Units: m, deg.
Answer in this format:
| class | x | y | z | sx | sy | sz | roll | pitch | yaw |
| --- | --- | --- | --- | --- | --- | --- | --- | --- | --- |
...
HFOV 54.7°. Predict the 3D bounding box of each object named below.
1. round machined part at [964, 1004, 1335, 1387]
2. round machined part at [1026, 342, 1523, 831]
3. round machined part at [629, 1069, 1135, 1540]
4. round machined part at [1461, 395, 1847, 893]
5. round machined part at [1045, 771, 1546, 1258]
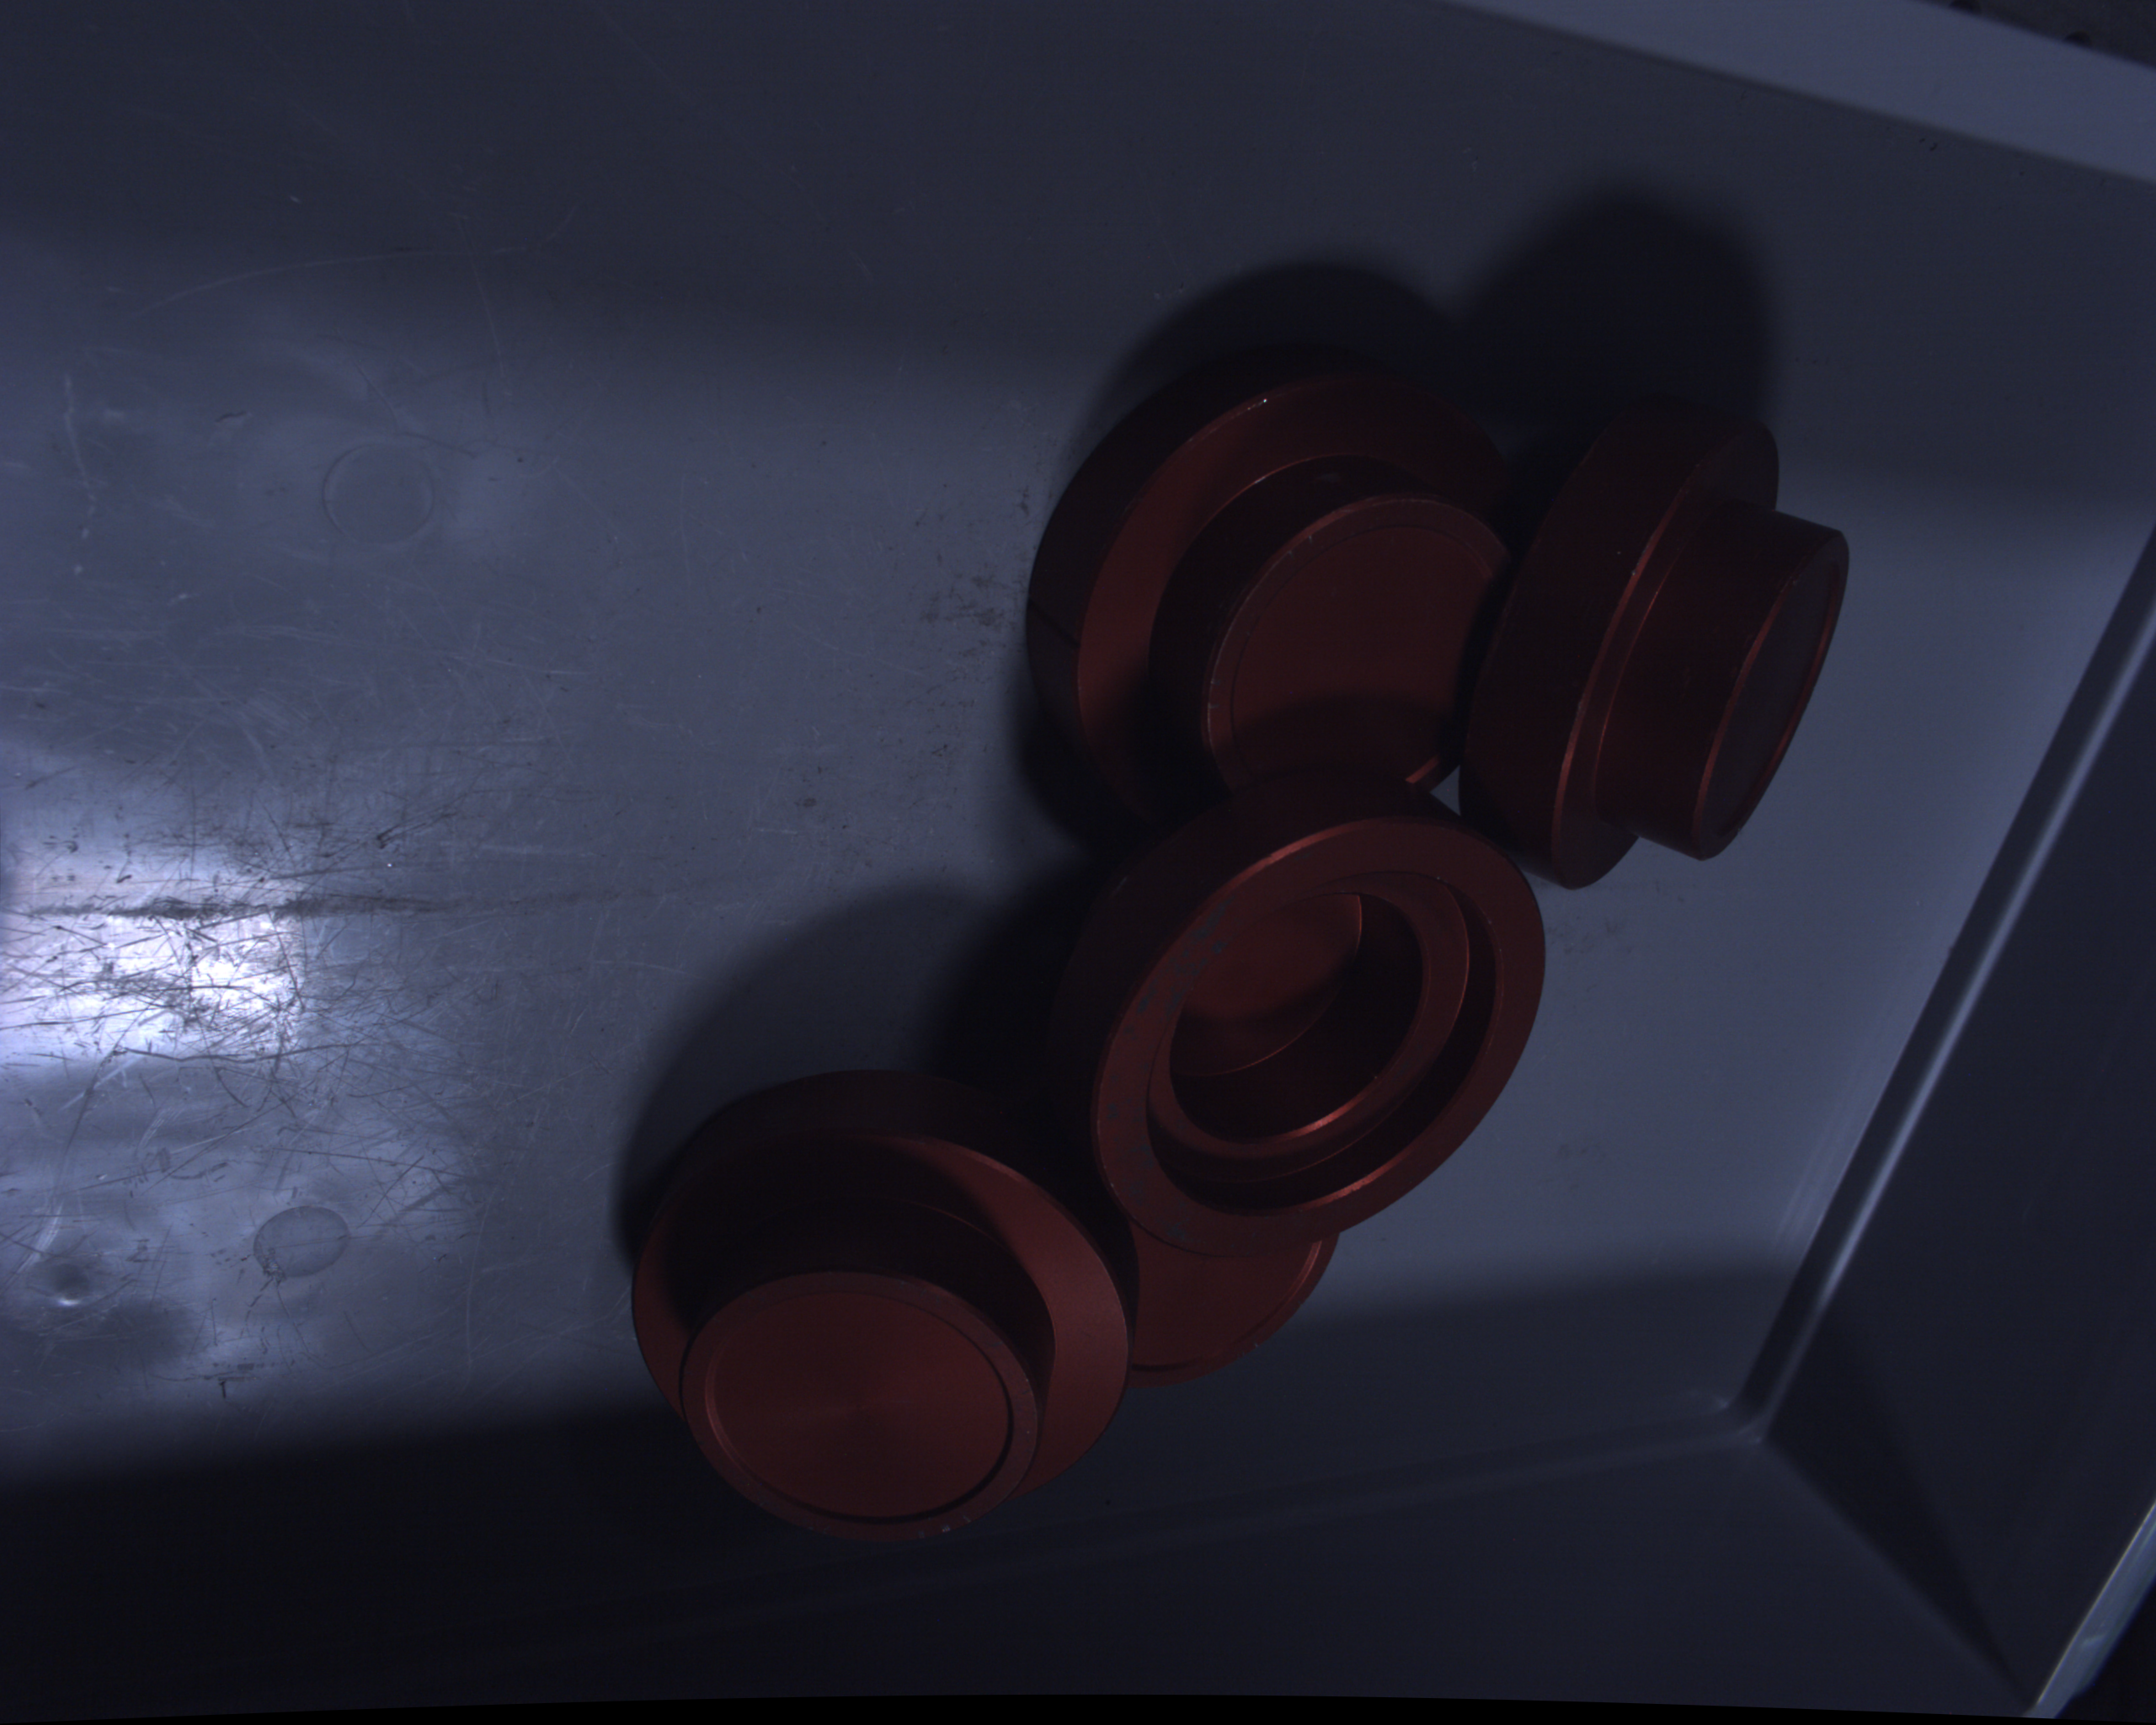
| class | x | y | z | sx | sy | sz | roll | pitch | yaw |
| --- | --- | --- | --- | --- | --- | --- | --- | --- | --- |
| round machined part | 0.017 | 0.074 | 0.453 | 0.099 | 0.042 | 0.097 | -14 | 125 | -21 |
| round machined part | 0.043 | -0.044 | 0.393 | 0.099 | 0.042 | 0.097 | -14 | 125 | -21 |
| round machined part | -0.039 | 0.092 | 0.405 | 0.099 | 0.042 | 0.097 | 2 | 118 | 4 |
| round machined part | 0.117 | -0.039 | 0.410 | 0.099 | 0.042 | 0.097 | -43 | 146 | -38 |
| round machined part | 0.038 | 0.025 | 0.406 | 0.099 | 0.042 | 0.097 | -14 | 125 | -21 |
